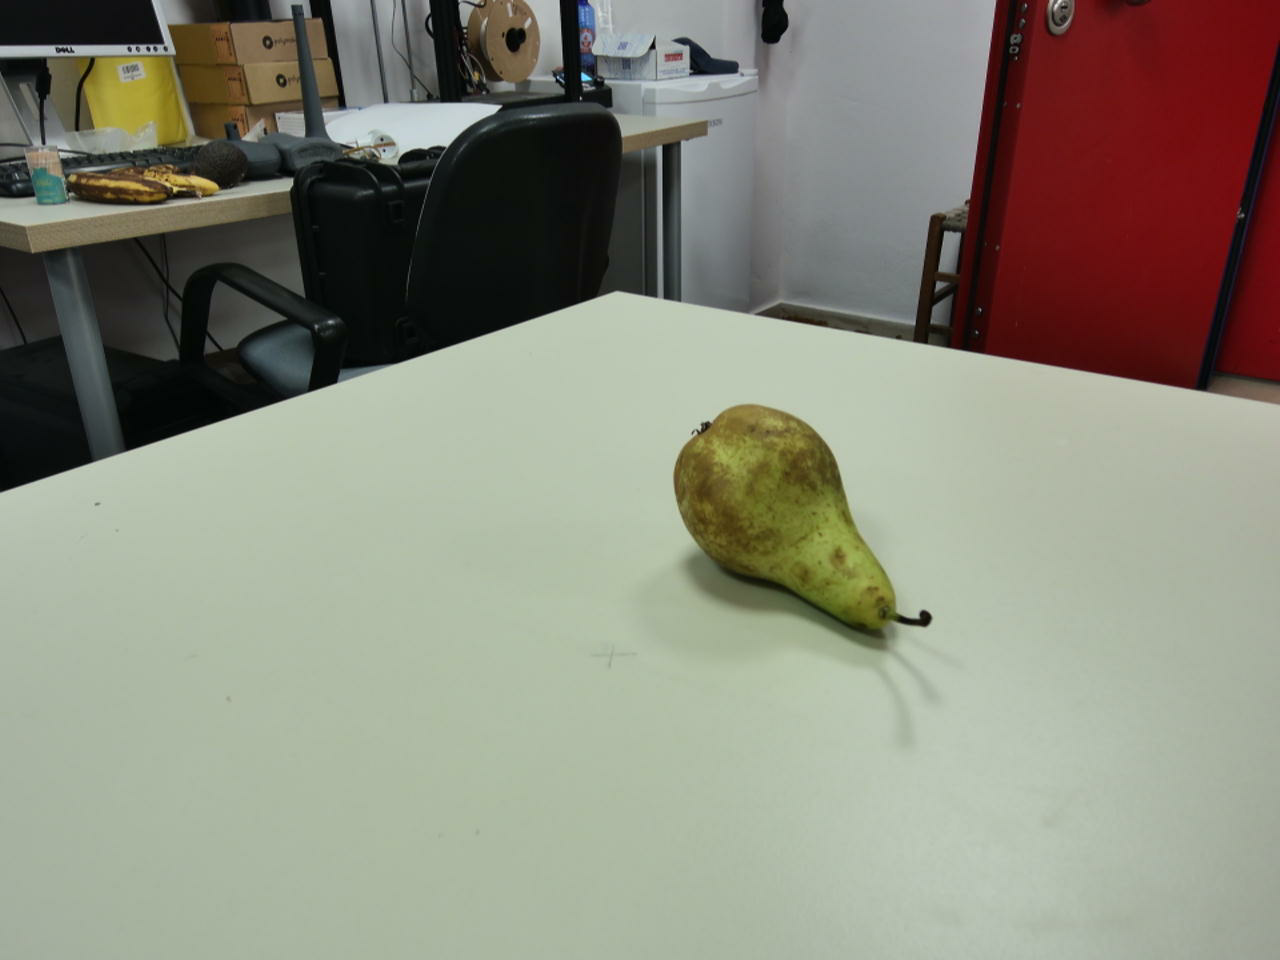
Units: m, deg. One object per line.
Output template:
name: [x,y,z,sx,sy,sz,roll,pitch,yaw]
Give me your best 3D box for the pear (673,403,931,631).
pear: [0.076,0.014,0.419,0.071,0.075,0.144,-21,30,-40]
